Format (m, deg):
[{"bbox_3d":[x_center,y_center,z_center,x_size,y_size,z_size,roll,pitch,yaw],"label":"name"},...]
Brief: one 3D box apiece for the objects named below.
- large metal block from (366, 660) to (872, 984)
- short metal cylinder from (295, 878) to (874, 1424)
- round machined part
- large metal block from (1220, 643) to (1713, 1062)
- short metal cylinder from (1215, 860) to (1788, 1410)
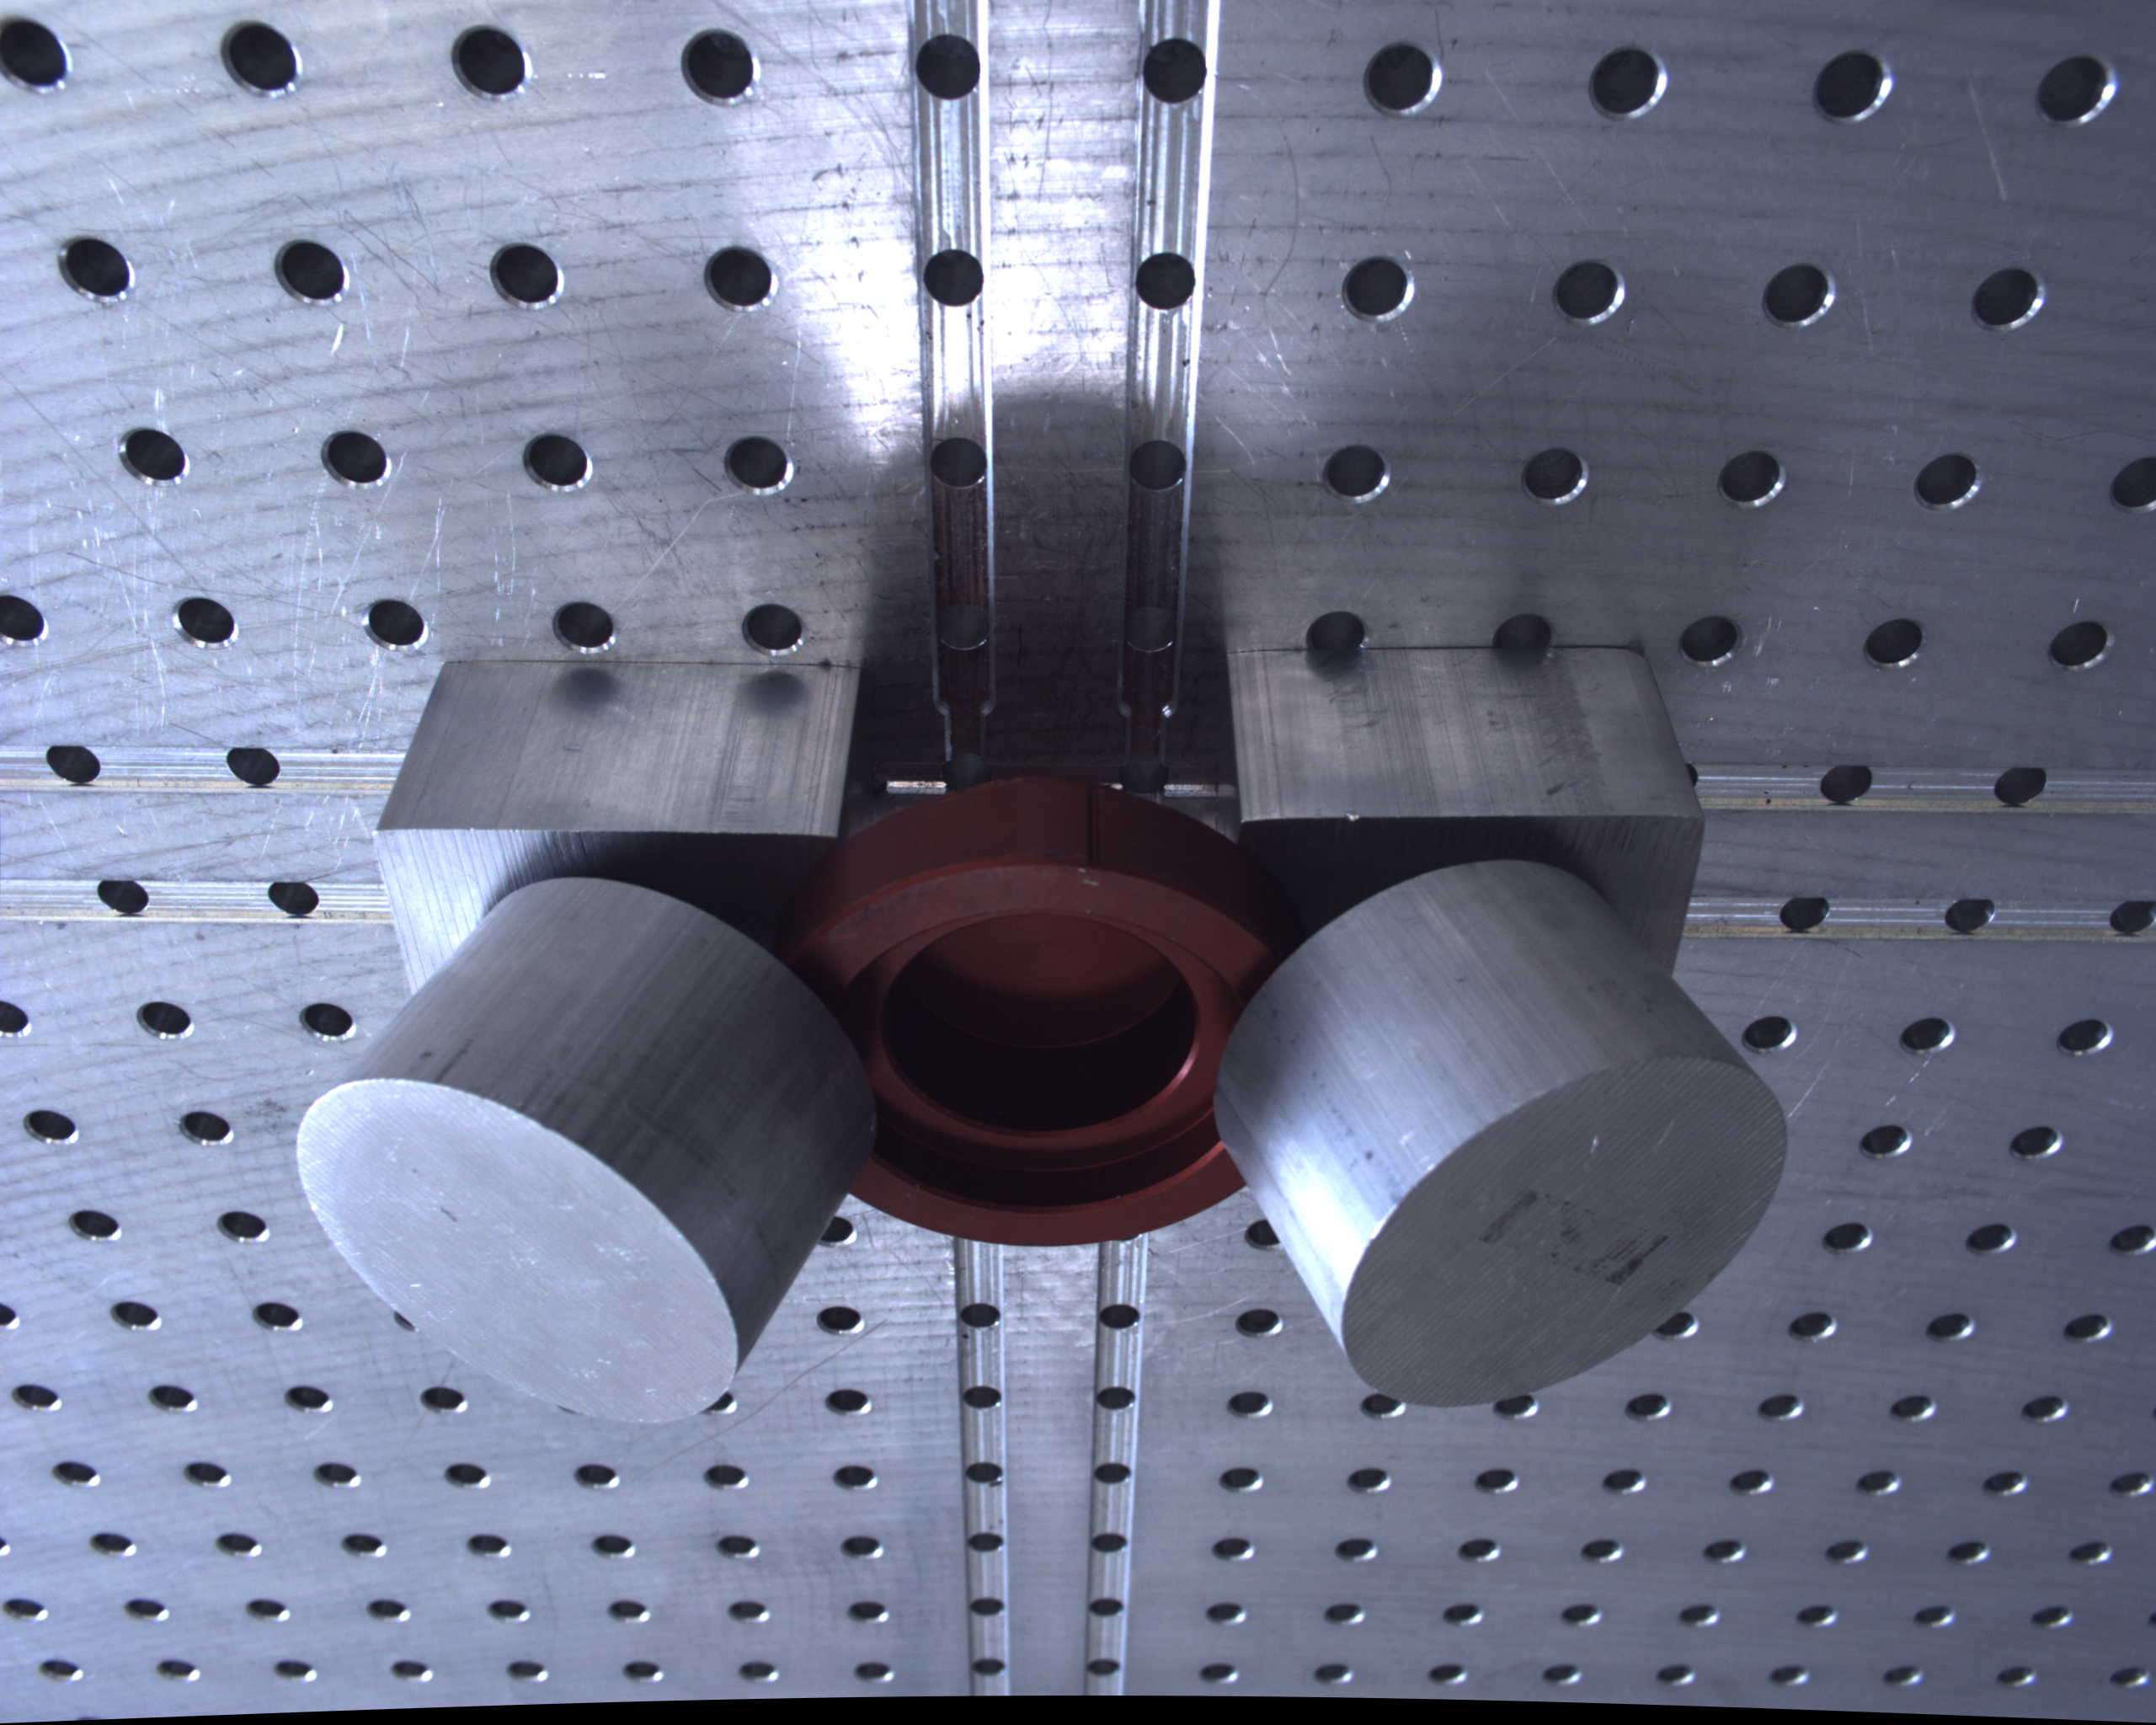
[{"bbox_3d":[-0.082,0.008,0.401,0.081,0.050,0.079,0,130,-1],"label":"large metal block"},{"bbox_3d":[-0.082,0.049,0.353,0.080,0.050,0.079,14,133,16],"label":"short metal cylinder"},{"bbox_3d":[-0.007,0.023,0.381,0.099,0.042,0.097,0,130,0],"label":"round machined part"},{"bbox_3d":[0.068,0.005,0.400,0.080,0.050,0.079,-1,130,0],"label":"large metal block"},{"bbox_3d":[0.070,0.046,0.352,0.081,0.050,0.079,-13,132,-15],"label":"short metal cylinder"}]
